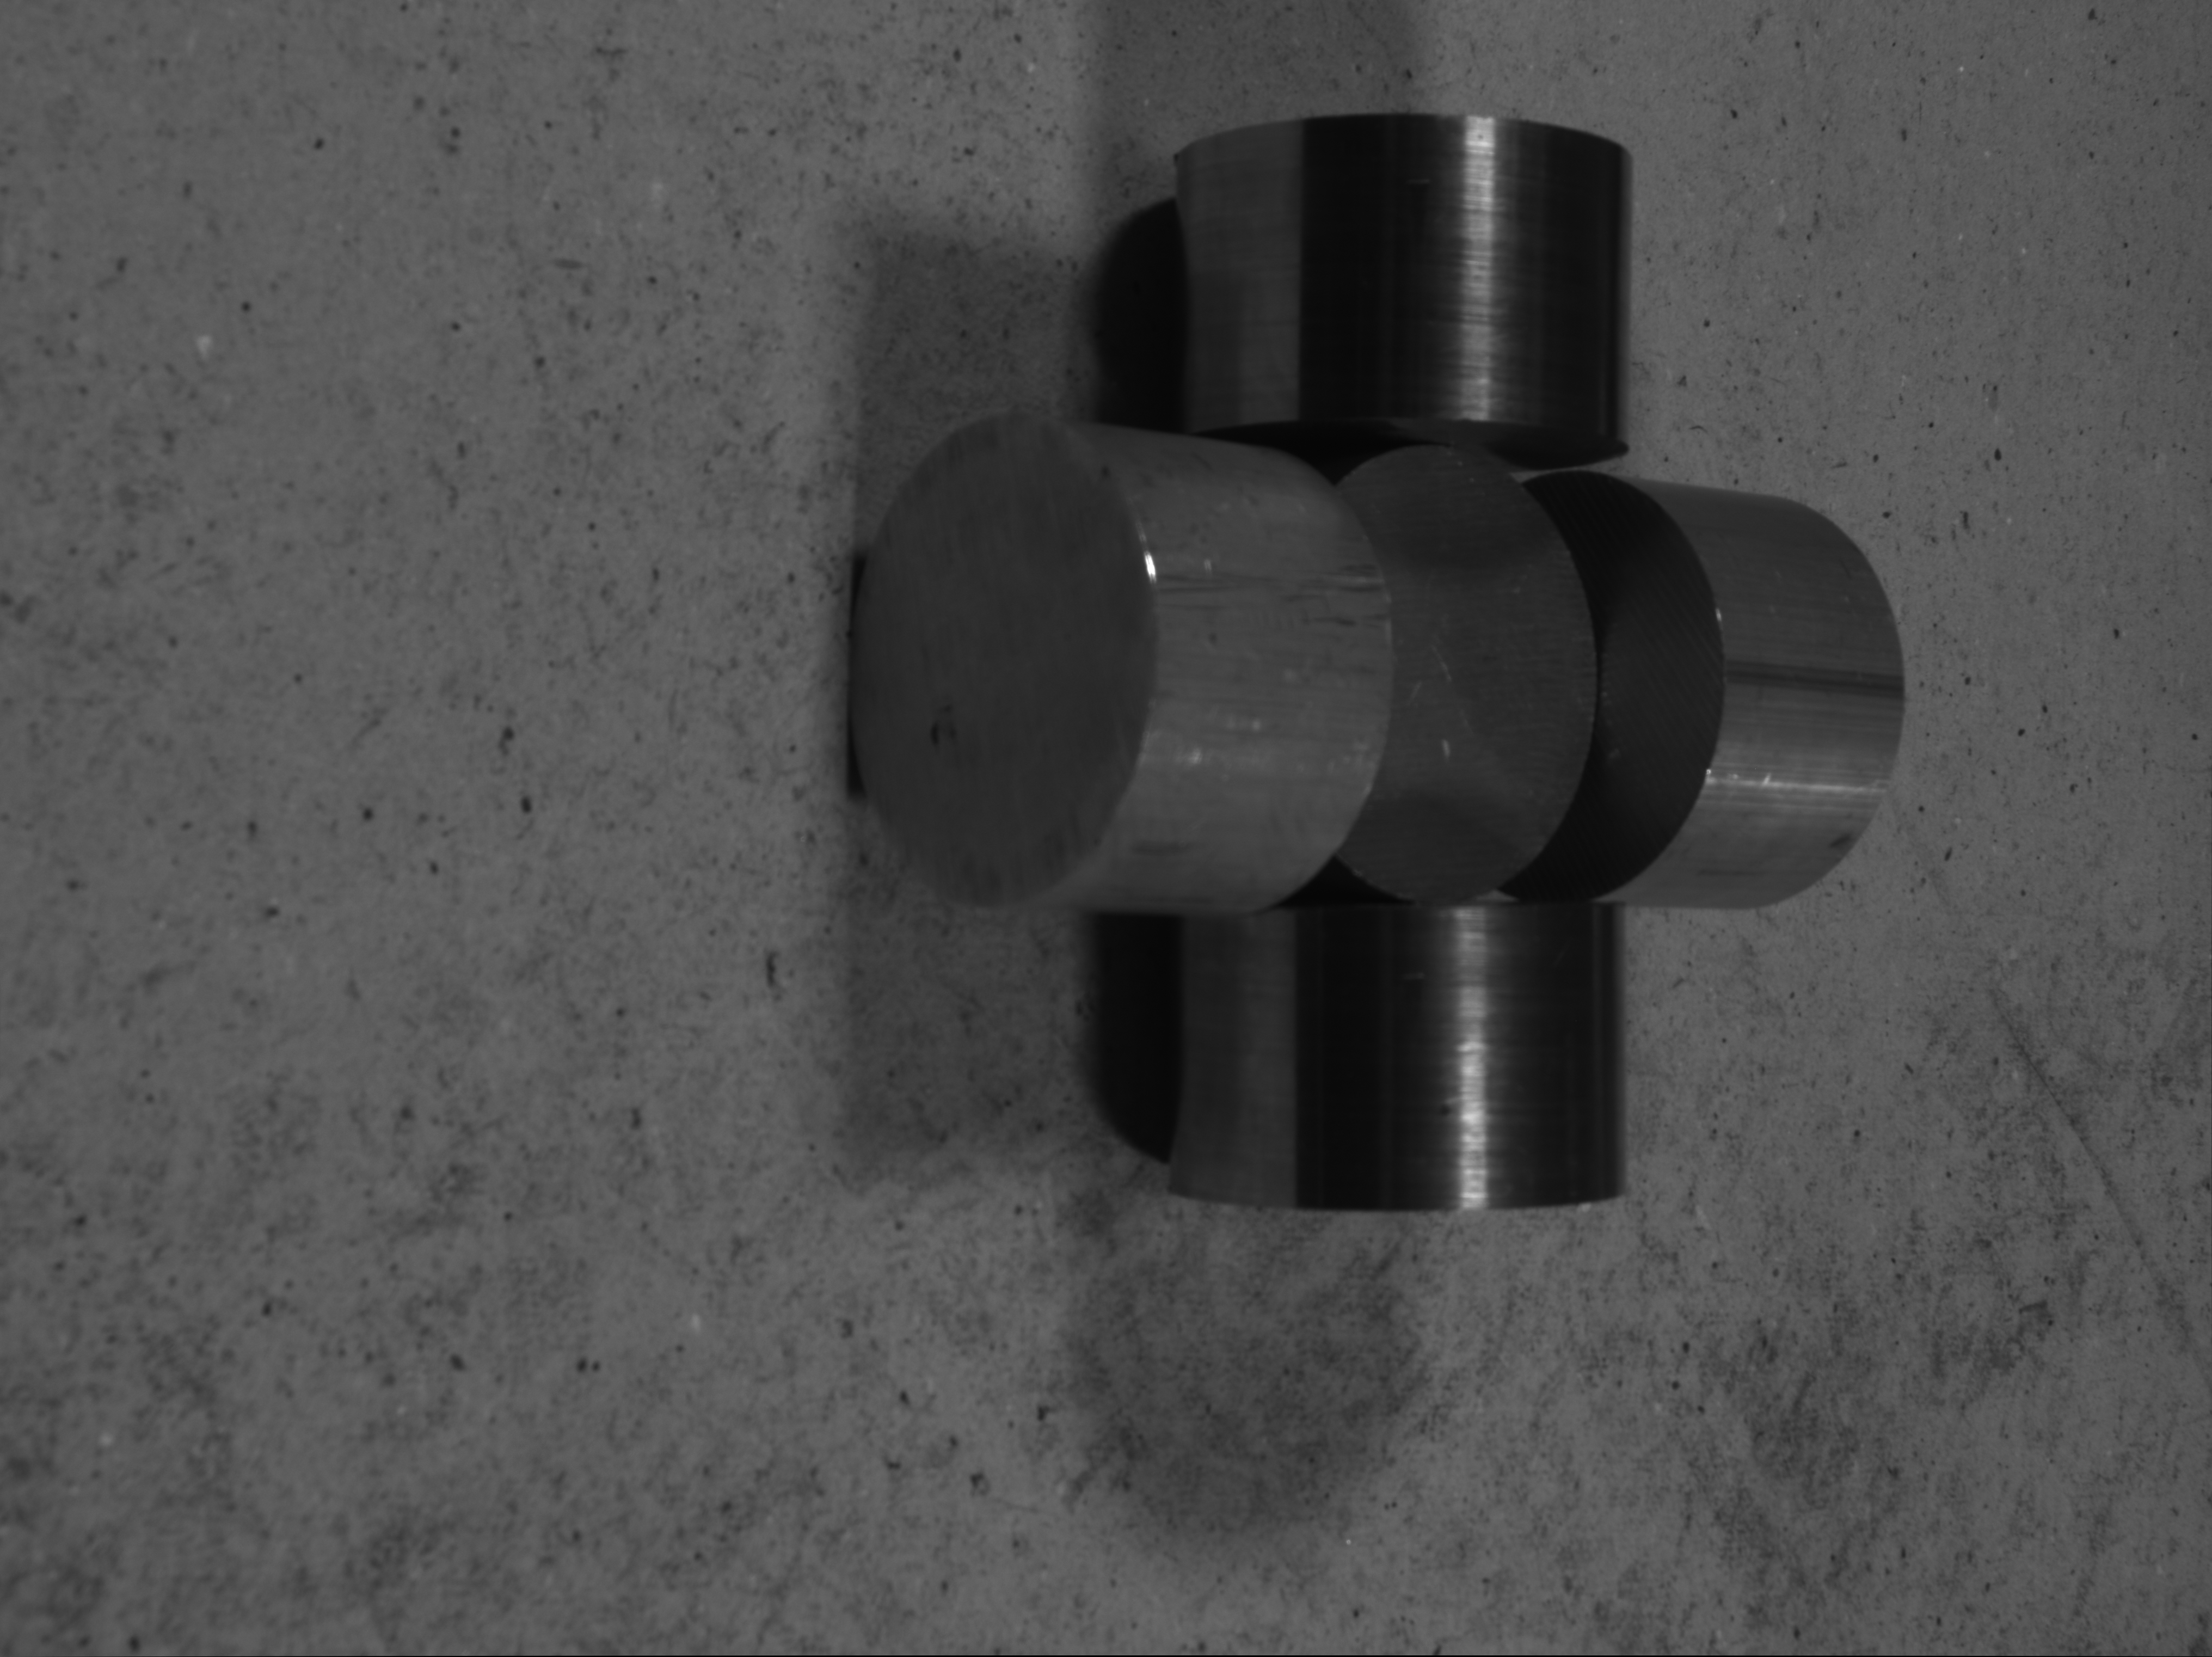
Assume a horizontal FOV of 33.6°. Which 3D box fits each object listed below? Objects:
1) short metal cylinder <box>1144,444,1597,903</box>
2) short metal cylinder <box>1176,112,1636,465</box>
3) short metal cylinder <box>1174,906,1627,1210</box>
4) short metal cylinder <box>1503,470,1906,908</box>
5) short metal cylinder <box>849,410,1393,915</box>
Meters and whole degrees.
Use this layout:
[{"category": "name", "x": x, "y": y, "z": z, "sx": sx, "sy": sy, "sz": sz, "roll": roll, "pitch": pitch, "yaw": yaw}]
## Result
[{"category": "short metal cylinder", "x": 0.042, "y": -0.027, "z": 0.657, "sx": 0.080, "sy": 0.050, "sz": 0.080, "roll": 0, "pitch": 90, "yaw": -40}, {"category": "short metal cylinder", "x": 0.053, "y": -0.093, "z": 0.645, "sx": 0.080, "sy": 0.080, "sz": 0.050, "roll": 2, "pitch": 89, "yaw": -40}, {"category": "short metal cylinder", "x": 0.052, "y": 0.039, "z": 0.644, "sx": 0.080, "sy": 0.080, "sz": 0.050, "roll": 1, "pitch": 89, "yaw": -40}, {"category": "short metal cylinder", "x": 0.102, "y": -0.025, "z": 0.687, "sx": 0.050, "sy": 0.080, "sz": 0.080, "roll": 3, "pitch": 88, "yaw": -40}, {"category": "short metal cylinder", "x": 0.001, "y": -0.026, "z": 0.603, "sx": 0.050, "sy": 0.080, "sz": 0.080, "roll": 3, "pitch": 88, "yaw": -40}]
